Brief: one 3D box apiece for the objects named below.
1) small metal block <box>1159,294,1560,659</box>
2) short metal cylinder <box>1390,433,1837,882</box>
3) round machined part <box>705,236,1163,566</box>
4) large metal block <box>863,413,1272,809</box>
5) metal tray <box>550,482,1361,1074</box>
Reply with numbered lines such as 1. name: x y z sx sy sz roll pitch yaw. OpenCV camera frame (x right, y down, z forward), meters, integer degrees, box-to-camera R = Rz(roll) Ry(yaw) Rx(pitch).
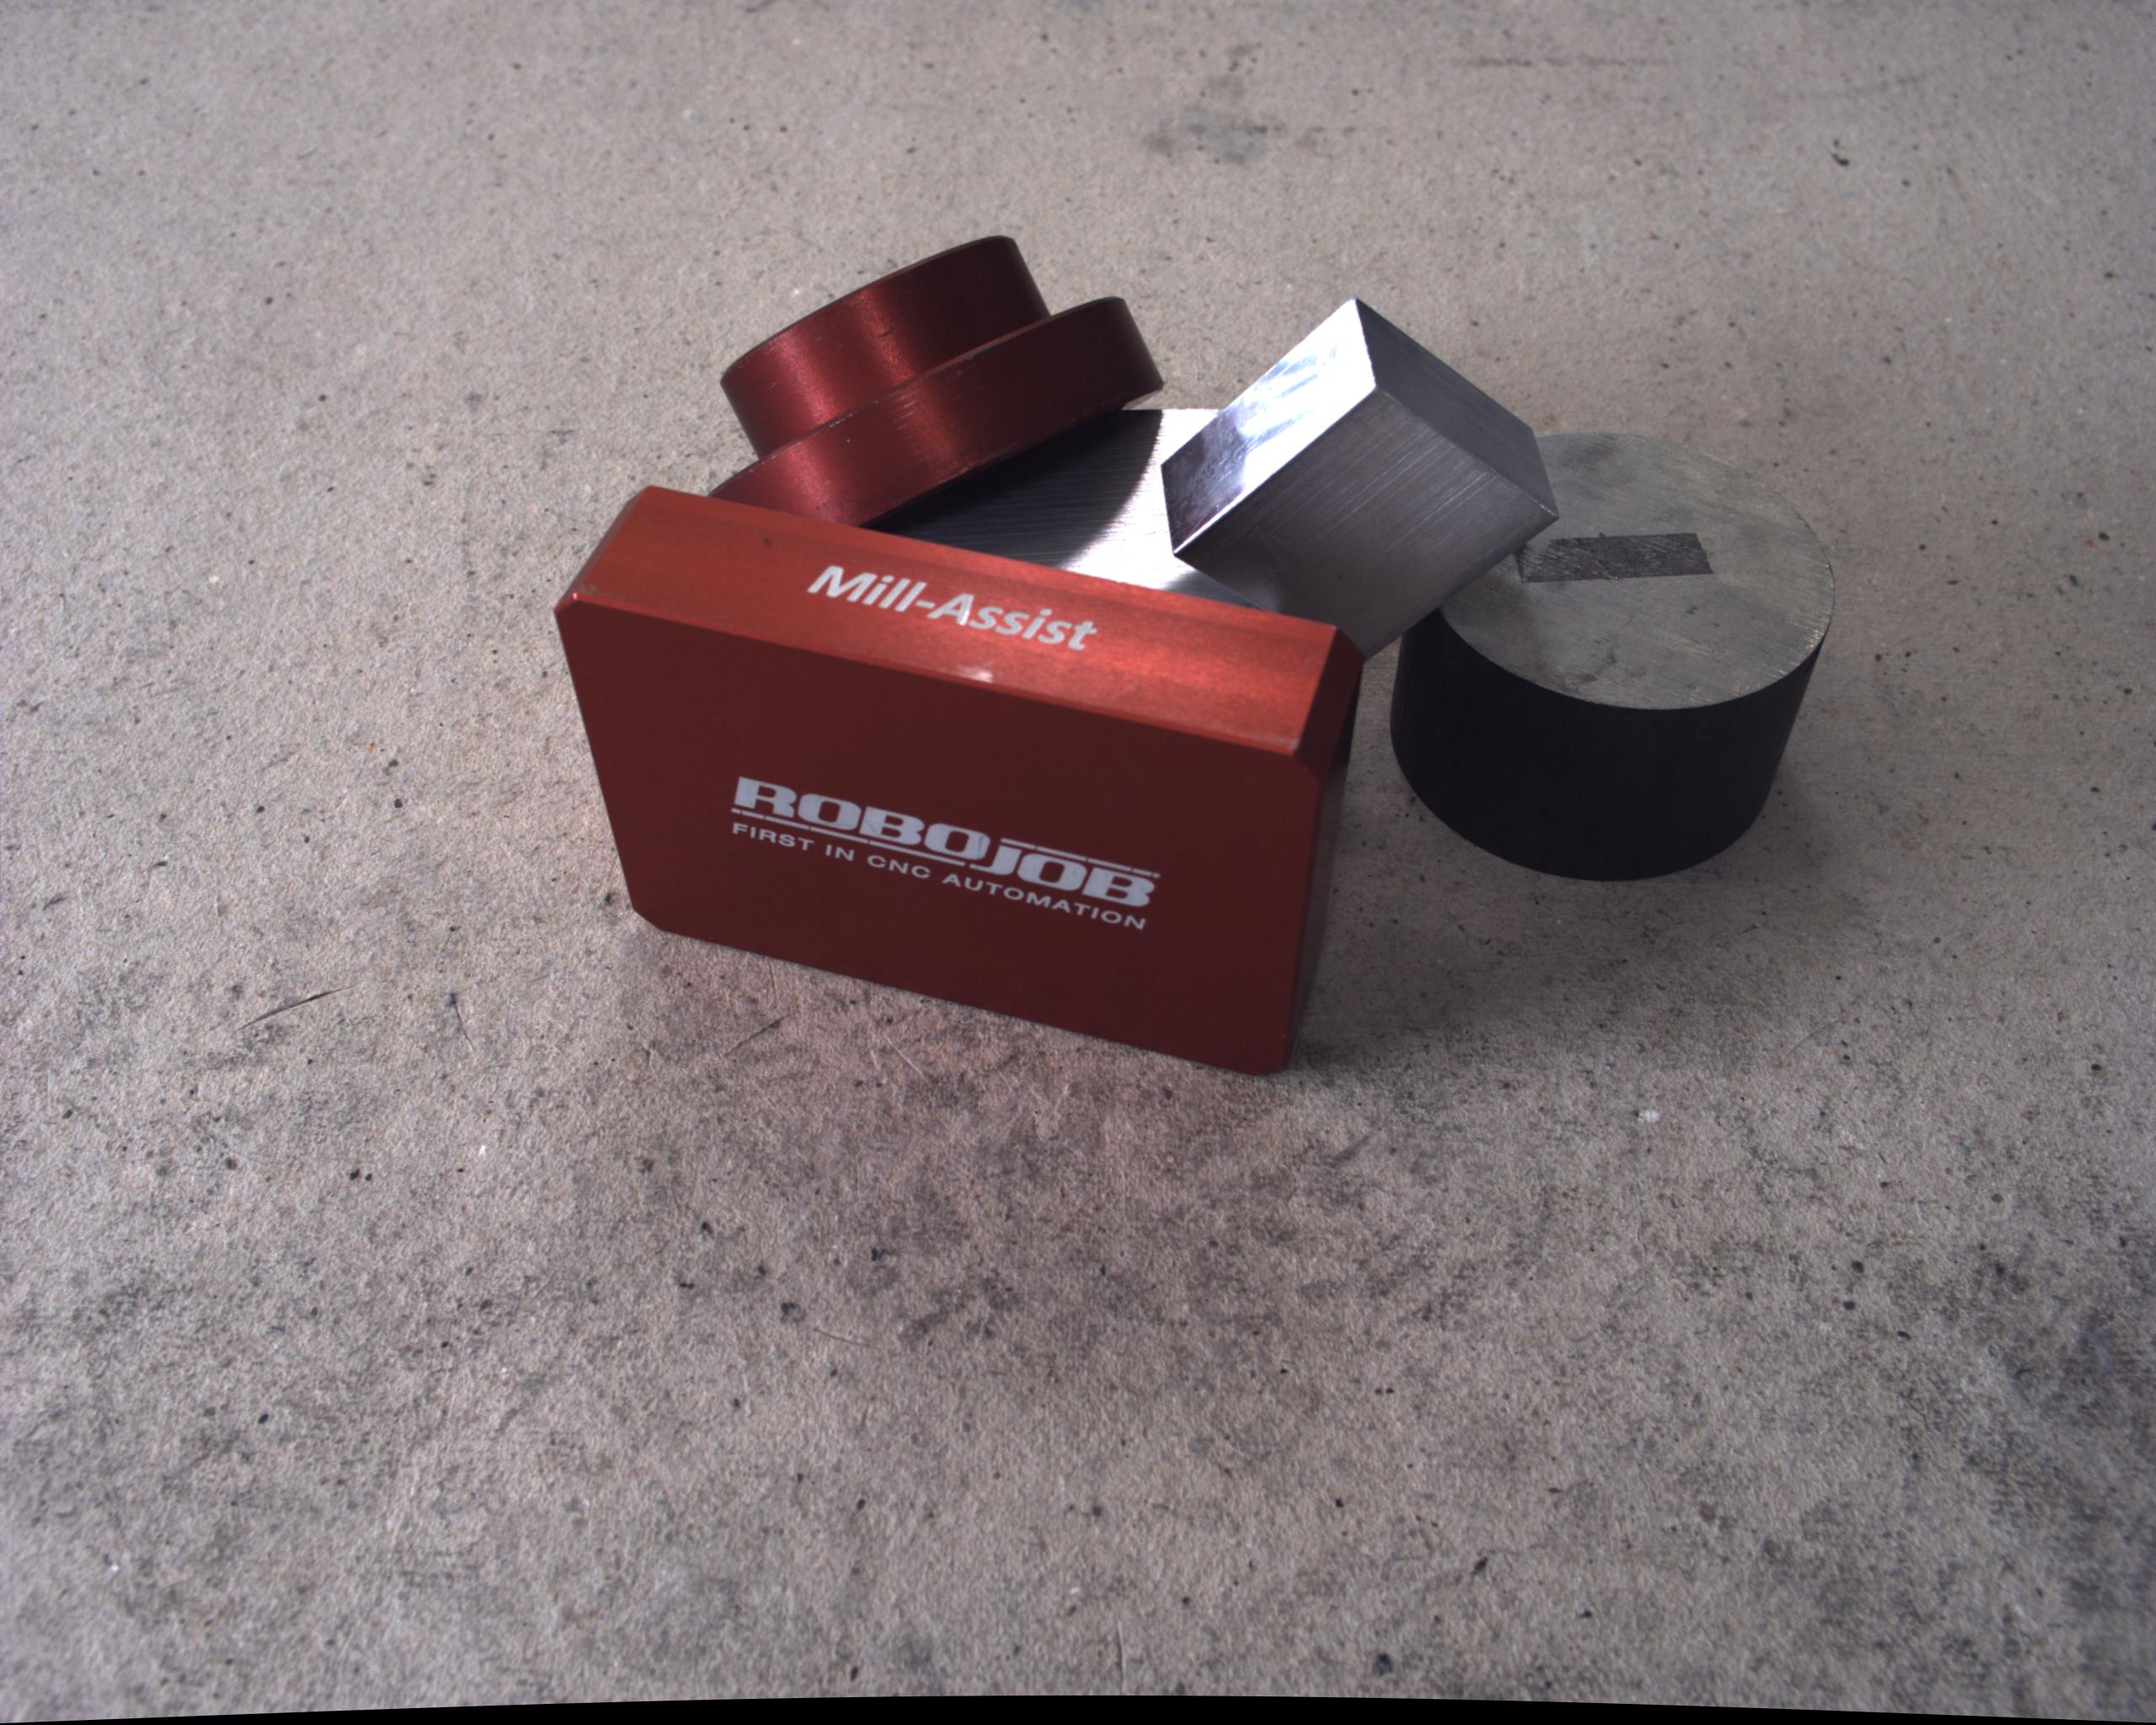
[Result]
1. small metal block: 0.052 -0.069 0.388 0.050 0.050 0.025 26 43 -34
2. short metal cylinder: 0.107 -0.043 0.426 0.081 0.050 0.080 0 50 0
3. round machined part: -0.035 -0.097 0.438 0.099 0.098 0.042 -30 100 -23
4. large metal block: -0.003 -0.047 0.430 0.081 0.050 0.080 -1 50 -1
5. metal tray: -0.021 -0.013 0.373 0.131 0.090 0.030 13 52 10
